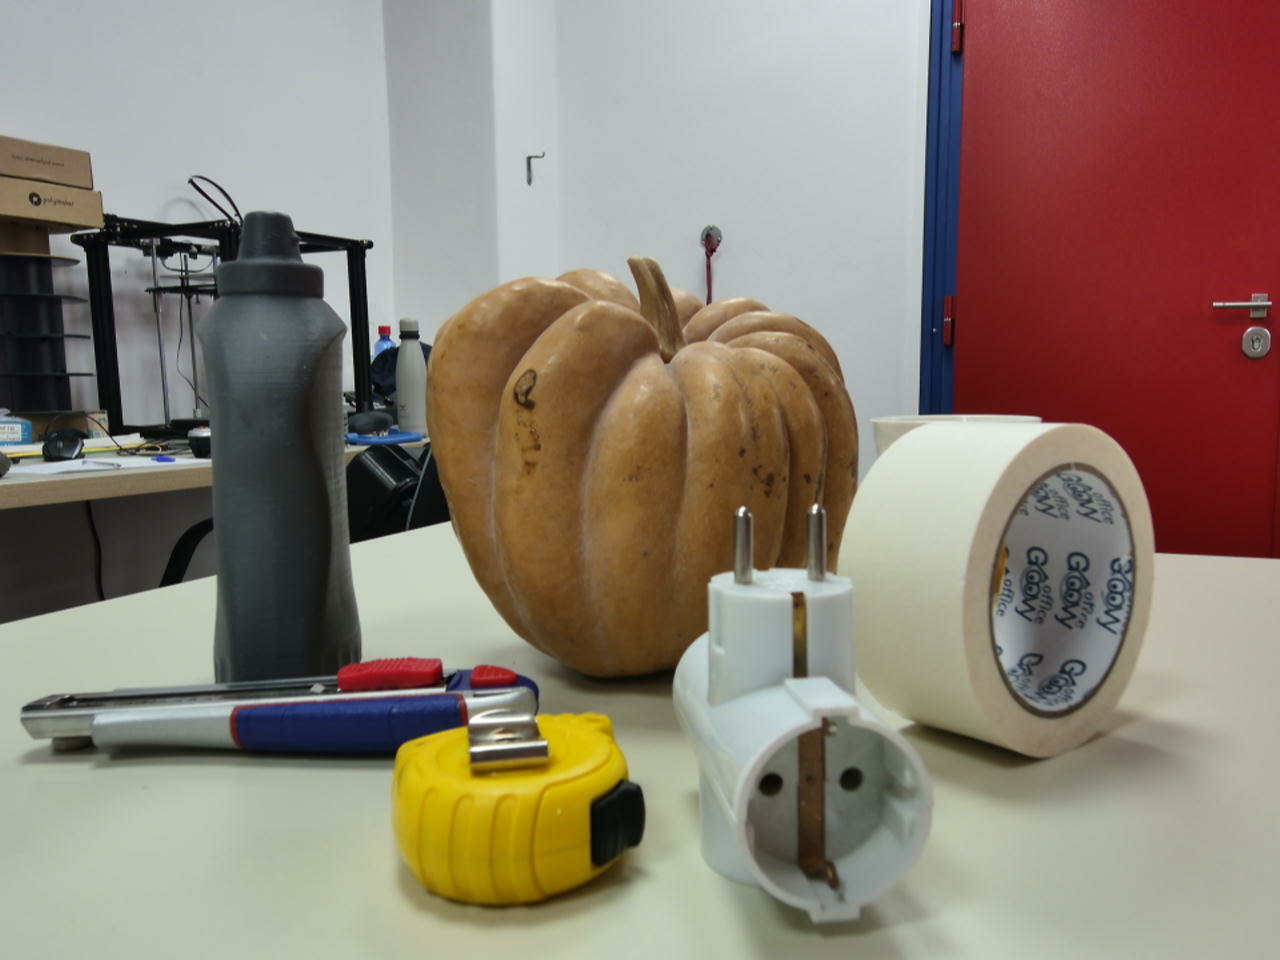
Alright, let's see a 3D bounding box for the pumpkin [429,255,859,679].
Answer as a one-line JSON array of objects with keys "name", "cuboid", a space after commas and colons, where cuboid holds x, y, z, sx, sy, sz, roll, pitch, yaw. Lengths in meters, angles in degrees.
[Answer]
[{"name": "pumpkin", "cuboid": [0.000, -0.008, 0.443, 0.199, 0.177, 0.198, 0, 4, 0]}]
